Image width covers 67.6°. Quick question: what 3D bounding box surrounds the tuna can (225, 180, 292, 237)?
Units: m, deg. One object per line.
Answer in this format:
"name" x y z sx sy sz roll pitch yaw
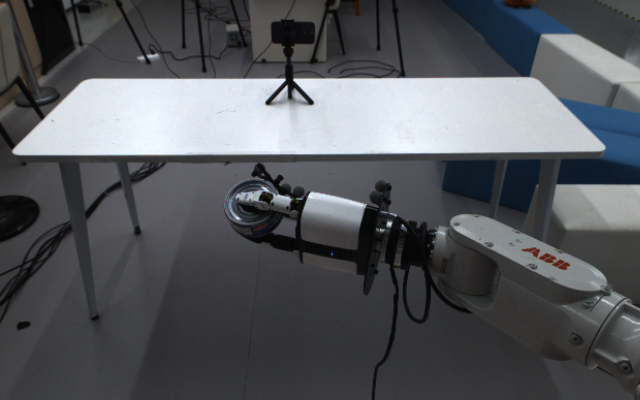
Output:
"tuna can" -0.095 0.017 0.716 0.085 0.034 0.085 -4 58 6
